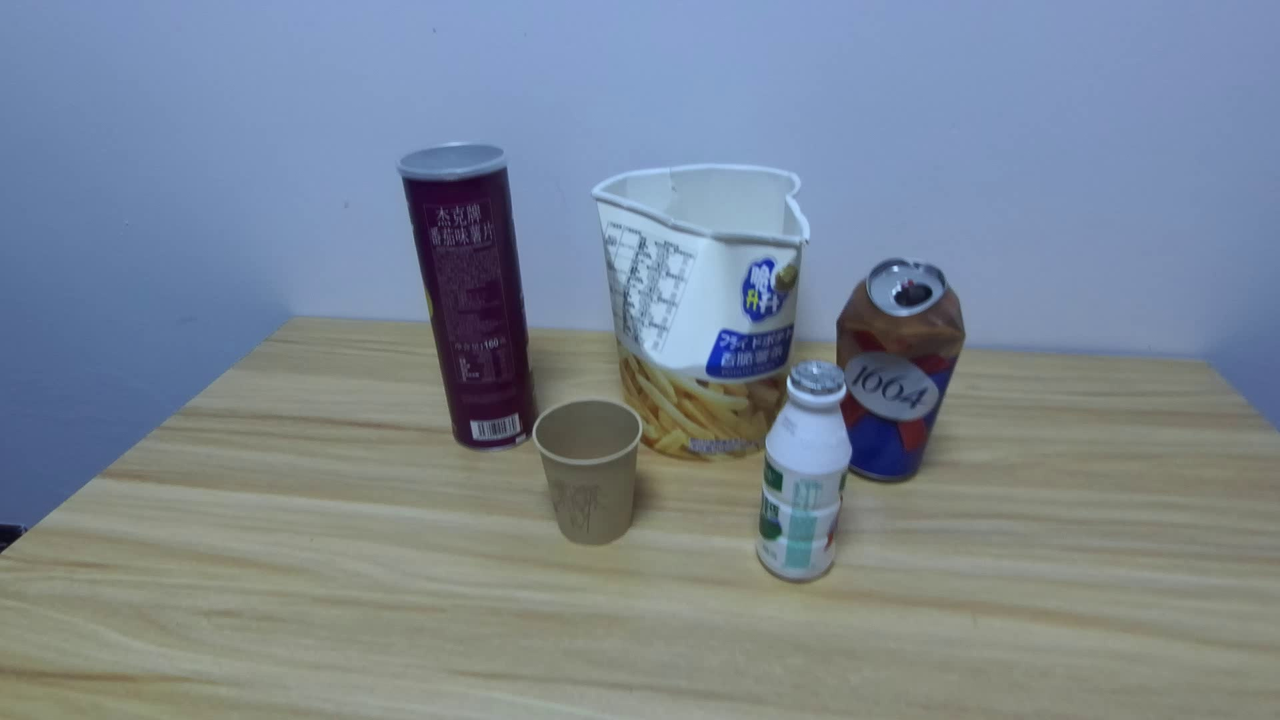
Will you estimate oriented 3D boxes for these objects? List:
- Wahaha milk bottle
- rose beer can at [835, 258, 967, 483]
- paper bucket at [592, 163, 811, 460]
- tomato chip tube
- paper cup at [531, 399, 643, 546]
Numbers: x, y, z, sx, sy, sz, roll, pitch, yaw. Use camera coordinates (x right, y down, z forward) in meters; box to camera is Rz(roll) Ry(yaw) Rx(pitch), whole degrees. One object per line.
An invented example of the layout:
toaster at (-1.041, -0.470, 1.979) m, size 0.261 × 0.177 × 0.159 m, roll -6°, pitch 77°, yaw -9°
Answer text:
Wahaha milk bottle at (0.104, 0.071, 0.445) m, size 0.053 × 0.147 × 0.053 m, roll -2°, pitch 30°, yaw 1°
rose beer can at (0.189, 0.010, 0.526) m, size 0.069 × 0.168 × 0.069 m, roll -6°, pitch 36°, yaw -5°
paper bucket at (0.047, -0.039, 0.582) m, size 0.162 × 0.202 × 0.169 m, roll 2°, pitch 28°, yaw 8°
tomato chip tube at (-0.130, -0.044, 0.565) m, size 0.078 × 0.234 × 0.078 m, roll -1°, pitch 30°, yaw 1°
paper cup at (-0.034, 0.082, 0.497) m, size 0.075 × 0.082 × 0.075 m, roll -1°, pitch 31°, yaw 1°
